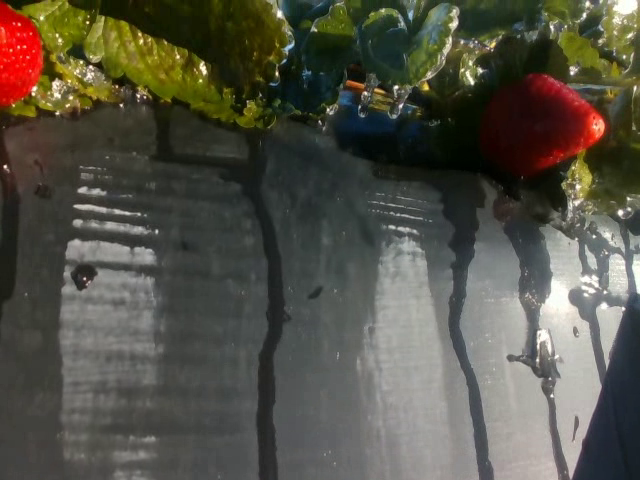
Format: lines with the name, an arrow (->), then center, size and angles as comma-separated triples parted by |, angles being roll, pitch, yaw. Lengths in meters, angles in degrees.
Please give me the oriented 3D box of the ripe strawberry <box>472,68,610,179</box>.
ripe strawberry -> 0.086, -0.042, 0.205 | 0.042, 0.047, 0.052 | 5, 10, -11
